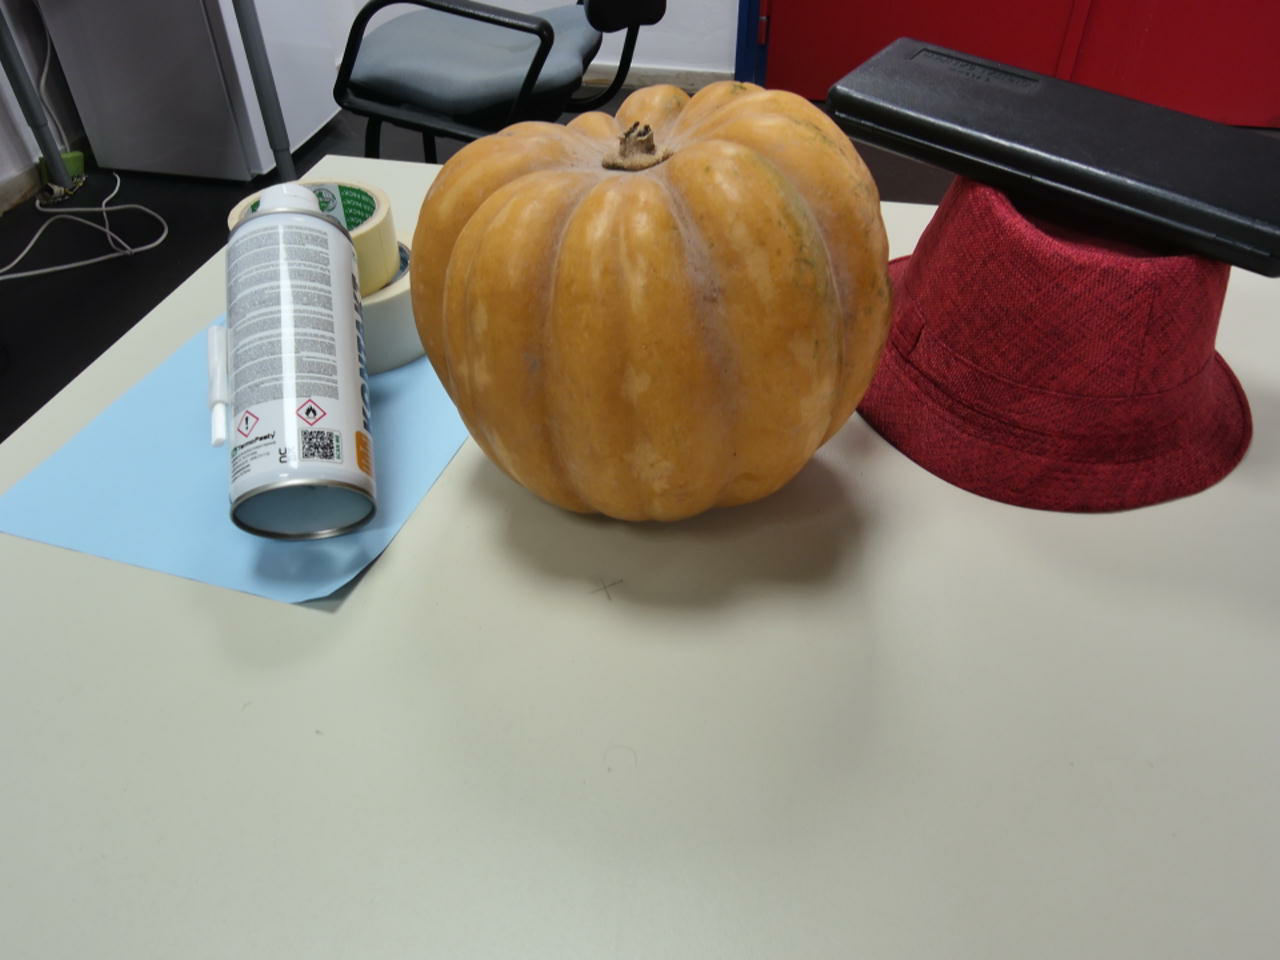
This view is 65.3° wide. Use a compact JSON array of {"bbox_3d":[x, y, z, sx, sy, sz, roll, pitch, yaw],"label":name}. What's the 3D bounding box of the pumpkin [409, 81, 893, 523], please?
[{"bbox_3d":[0.009,-0.085,0.487,0.230,0.194,0.230,0,39,0],"label":"pumpkin"}]
